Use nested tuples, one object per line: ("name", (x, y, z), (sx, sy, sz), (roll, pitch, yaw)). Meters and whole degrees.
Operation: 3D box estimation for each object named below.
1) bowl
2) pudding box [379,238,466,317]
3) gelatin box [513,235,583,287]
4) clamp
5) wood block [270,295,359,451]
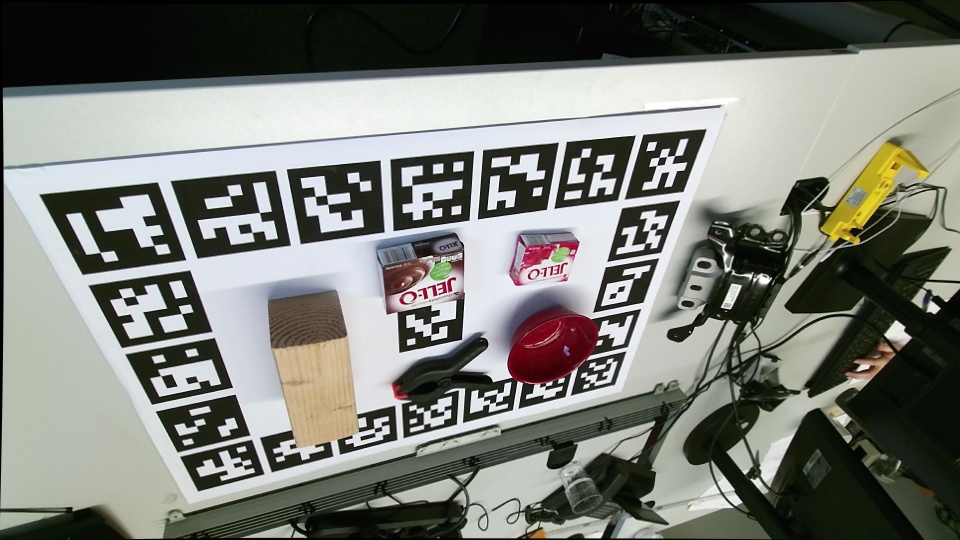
("bowl", (0.117, 0.122, 0.895), (0.162, 0.055, 0.161), (-11, 127, -15))
("pudding box", (-0.075, 0.011, 0.723), (0.114, 0.038, 0.090), (-12, 126, -18))
("gelatin box", (0.100, -0.012, 0.787), (0.090, 0.030, 0.073), (-4, 126, -22))
("clamp", (-0.041, 0.176, 0.882), (0.166, 0.036, 0.122), (-17, 132, -8))
("wood block", (-0.222, 0.146, 0.728), (0.090, 0.090, 0.206), (-8, 129, -18))
